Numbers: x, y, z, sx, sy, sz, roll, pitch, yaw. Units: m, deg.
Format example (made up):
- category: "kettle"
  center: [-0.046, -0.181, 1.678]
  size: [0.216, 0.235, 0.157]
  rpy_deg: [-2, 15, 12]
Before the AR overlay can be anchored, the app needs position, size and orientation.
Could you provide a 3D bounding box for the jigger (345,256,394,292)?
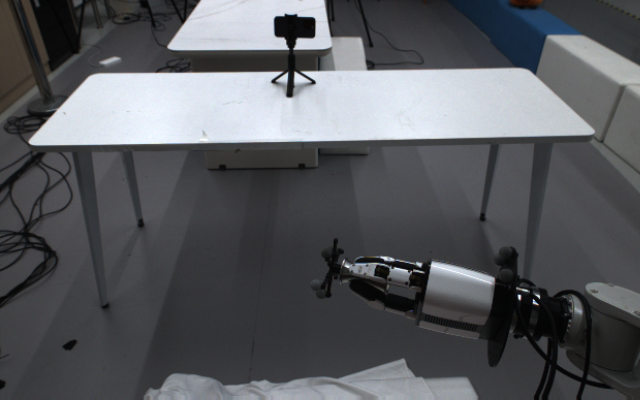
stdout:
- category: "jigger"
  center: [0.072, 0.103, 0.689]
  size: [0.071, 0.043, 0.043]
  rpy_deg: [10, 35, 16]
